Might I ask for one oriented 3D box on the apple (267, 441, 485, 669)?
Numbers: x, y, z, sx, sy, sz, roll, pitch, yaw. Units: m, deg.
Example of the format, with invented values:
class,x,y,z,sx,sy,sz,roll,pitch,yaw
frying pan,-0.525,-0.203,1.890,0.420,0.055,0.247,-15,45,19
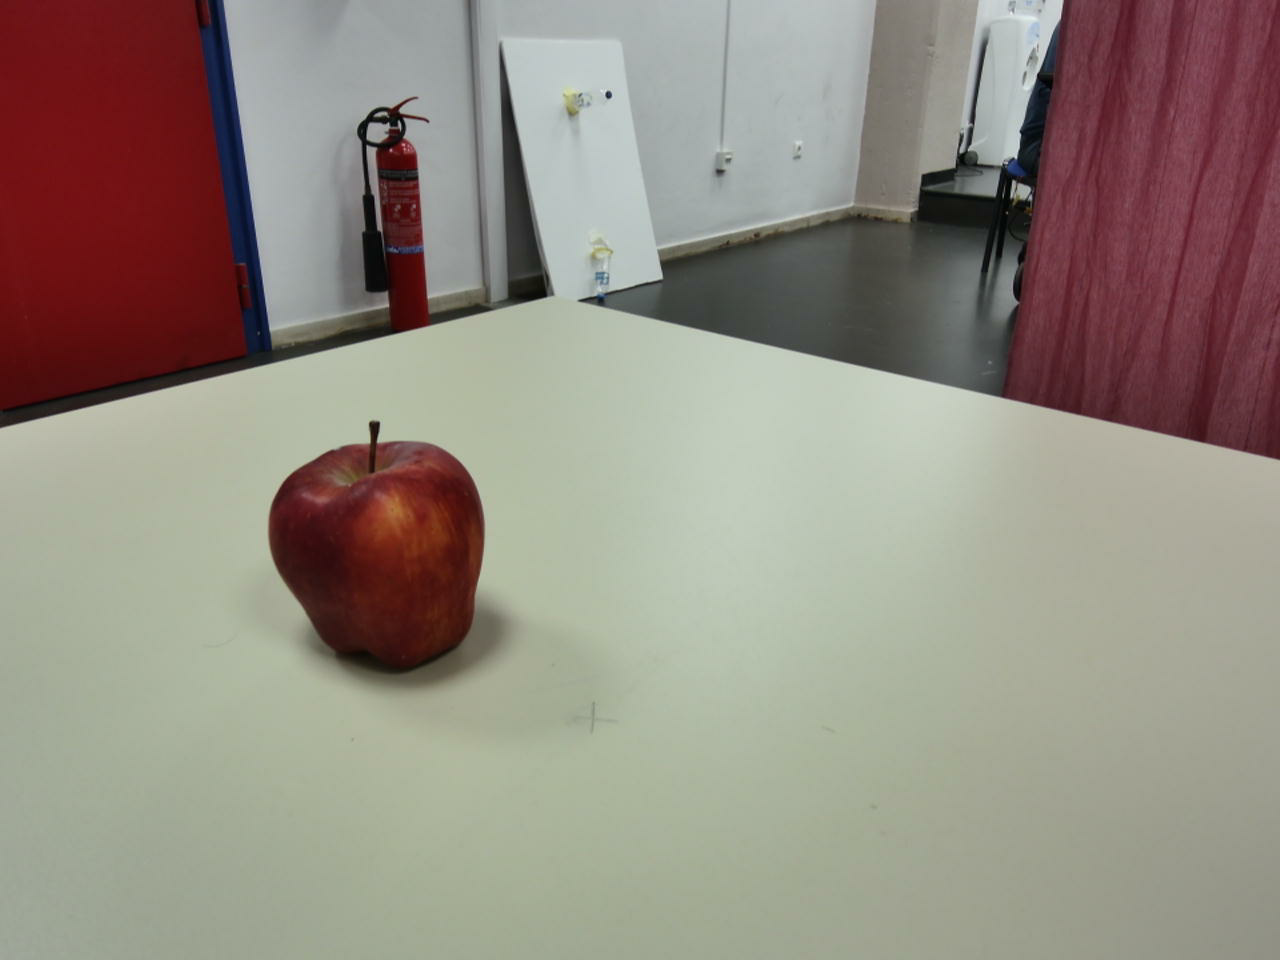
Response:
class,x,y,z,sx,sy,sz,roll,pitch,yaw
apple,-0.099,0.022,0.383,0.083,0.090,0.083,2,22,-1
